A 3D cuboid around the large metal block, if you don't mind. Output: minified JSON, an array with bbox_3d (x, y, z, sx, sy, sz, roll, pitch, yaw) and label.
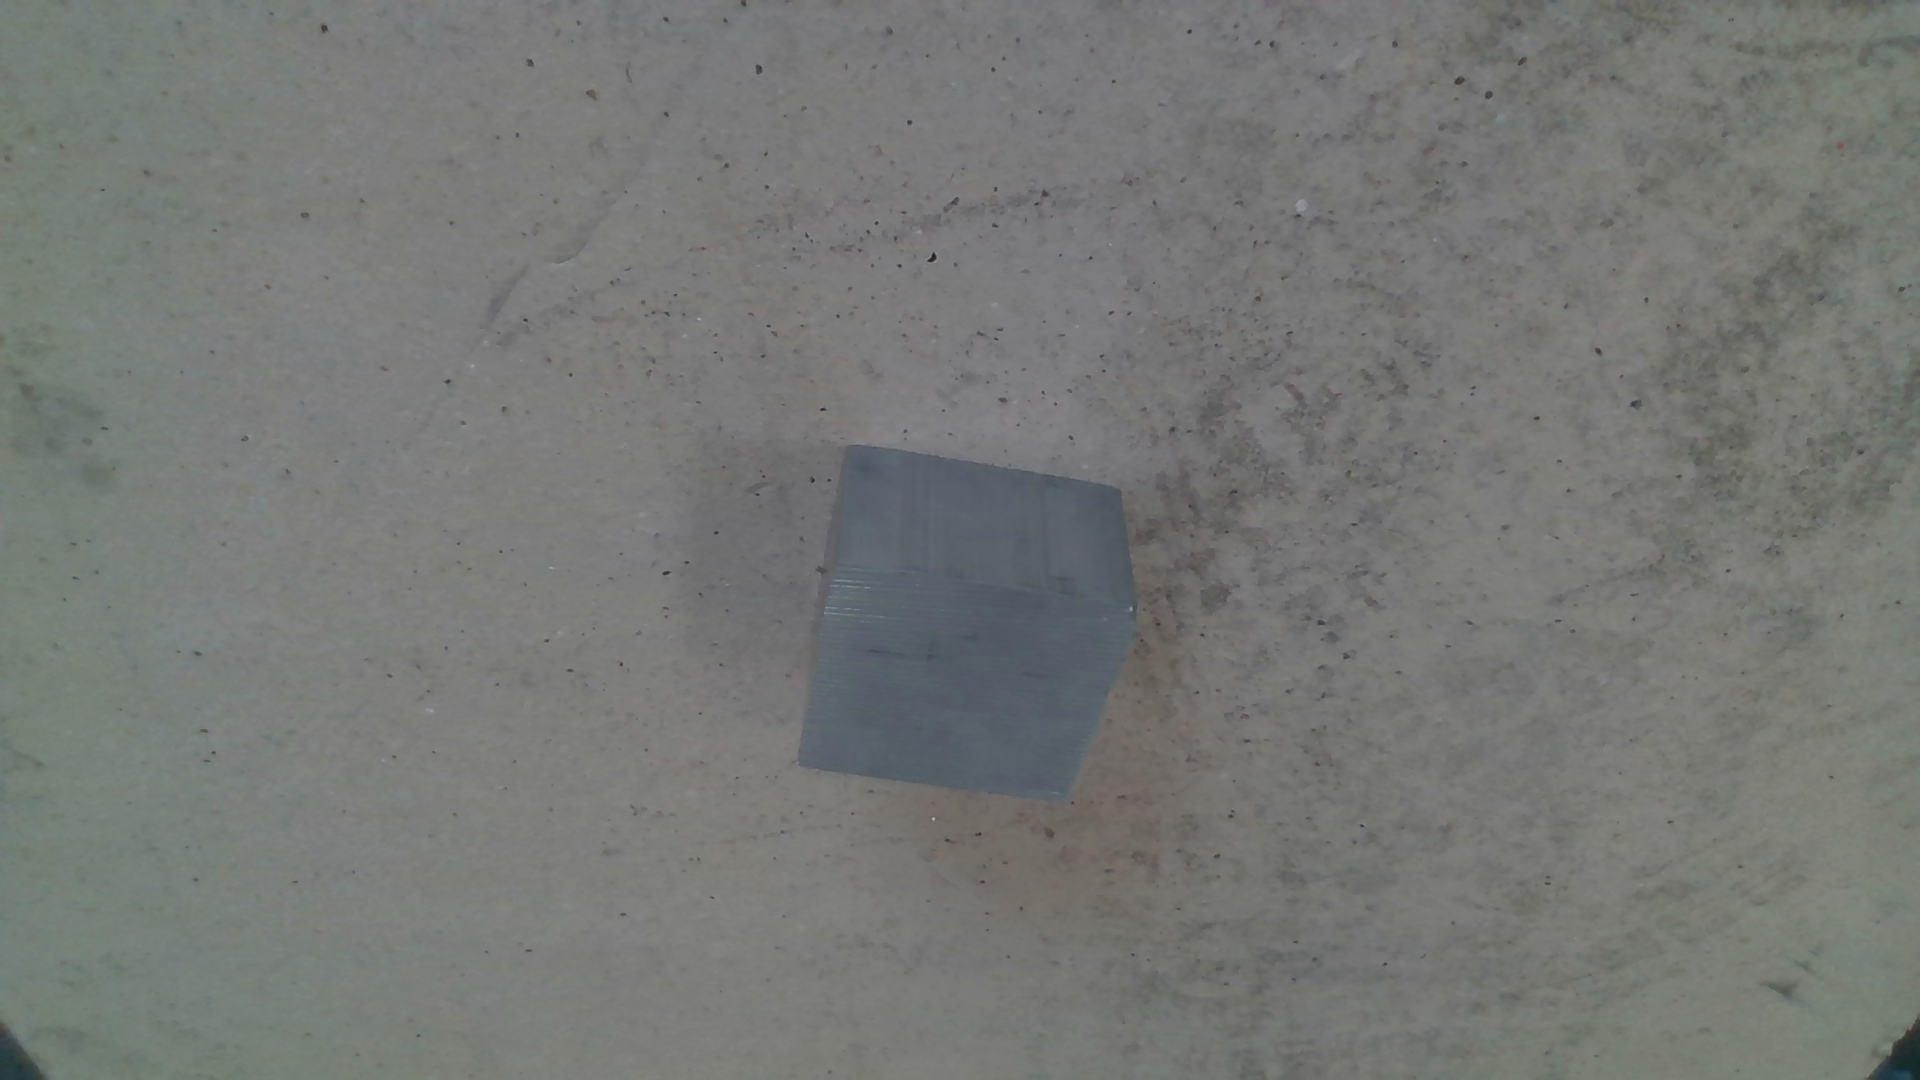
[{"bbox_3d":[-0.001,0.025,0.392,0.080,0.050,0.080,9,131,-7],"label":"large metal block"}]
